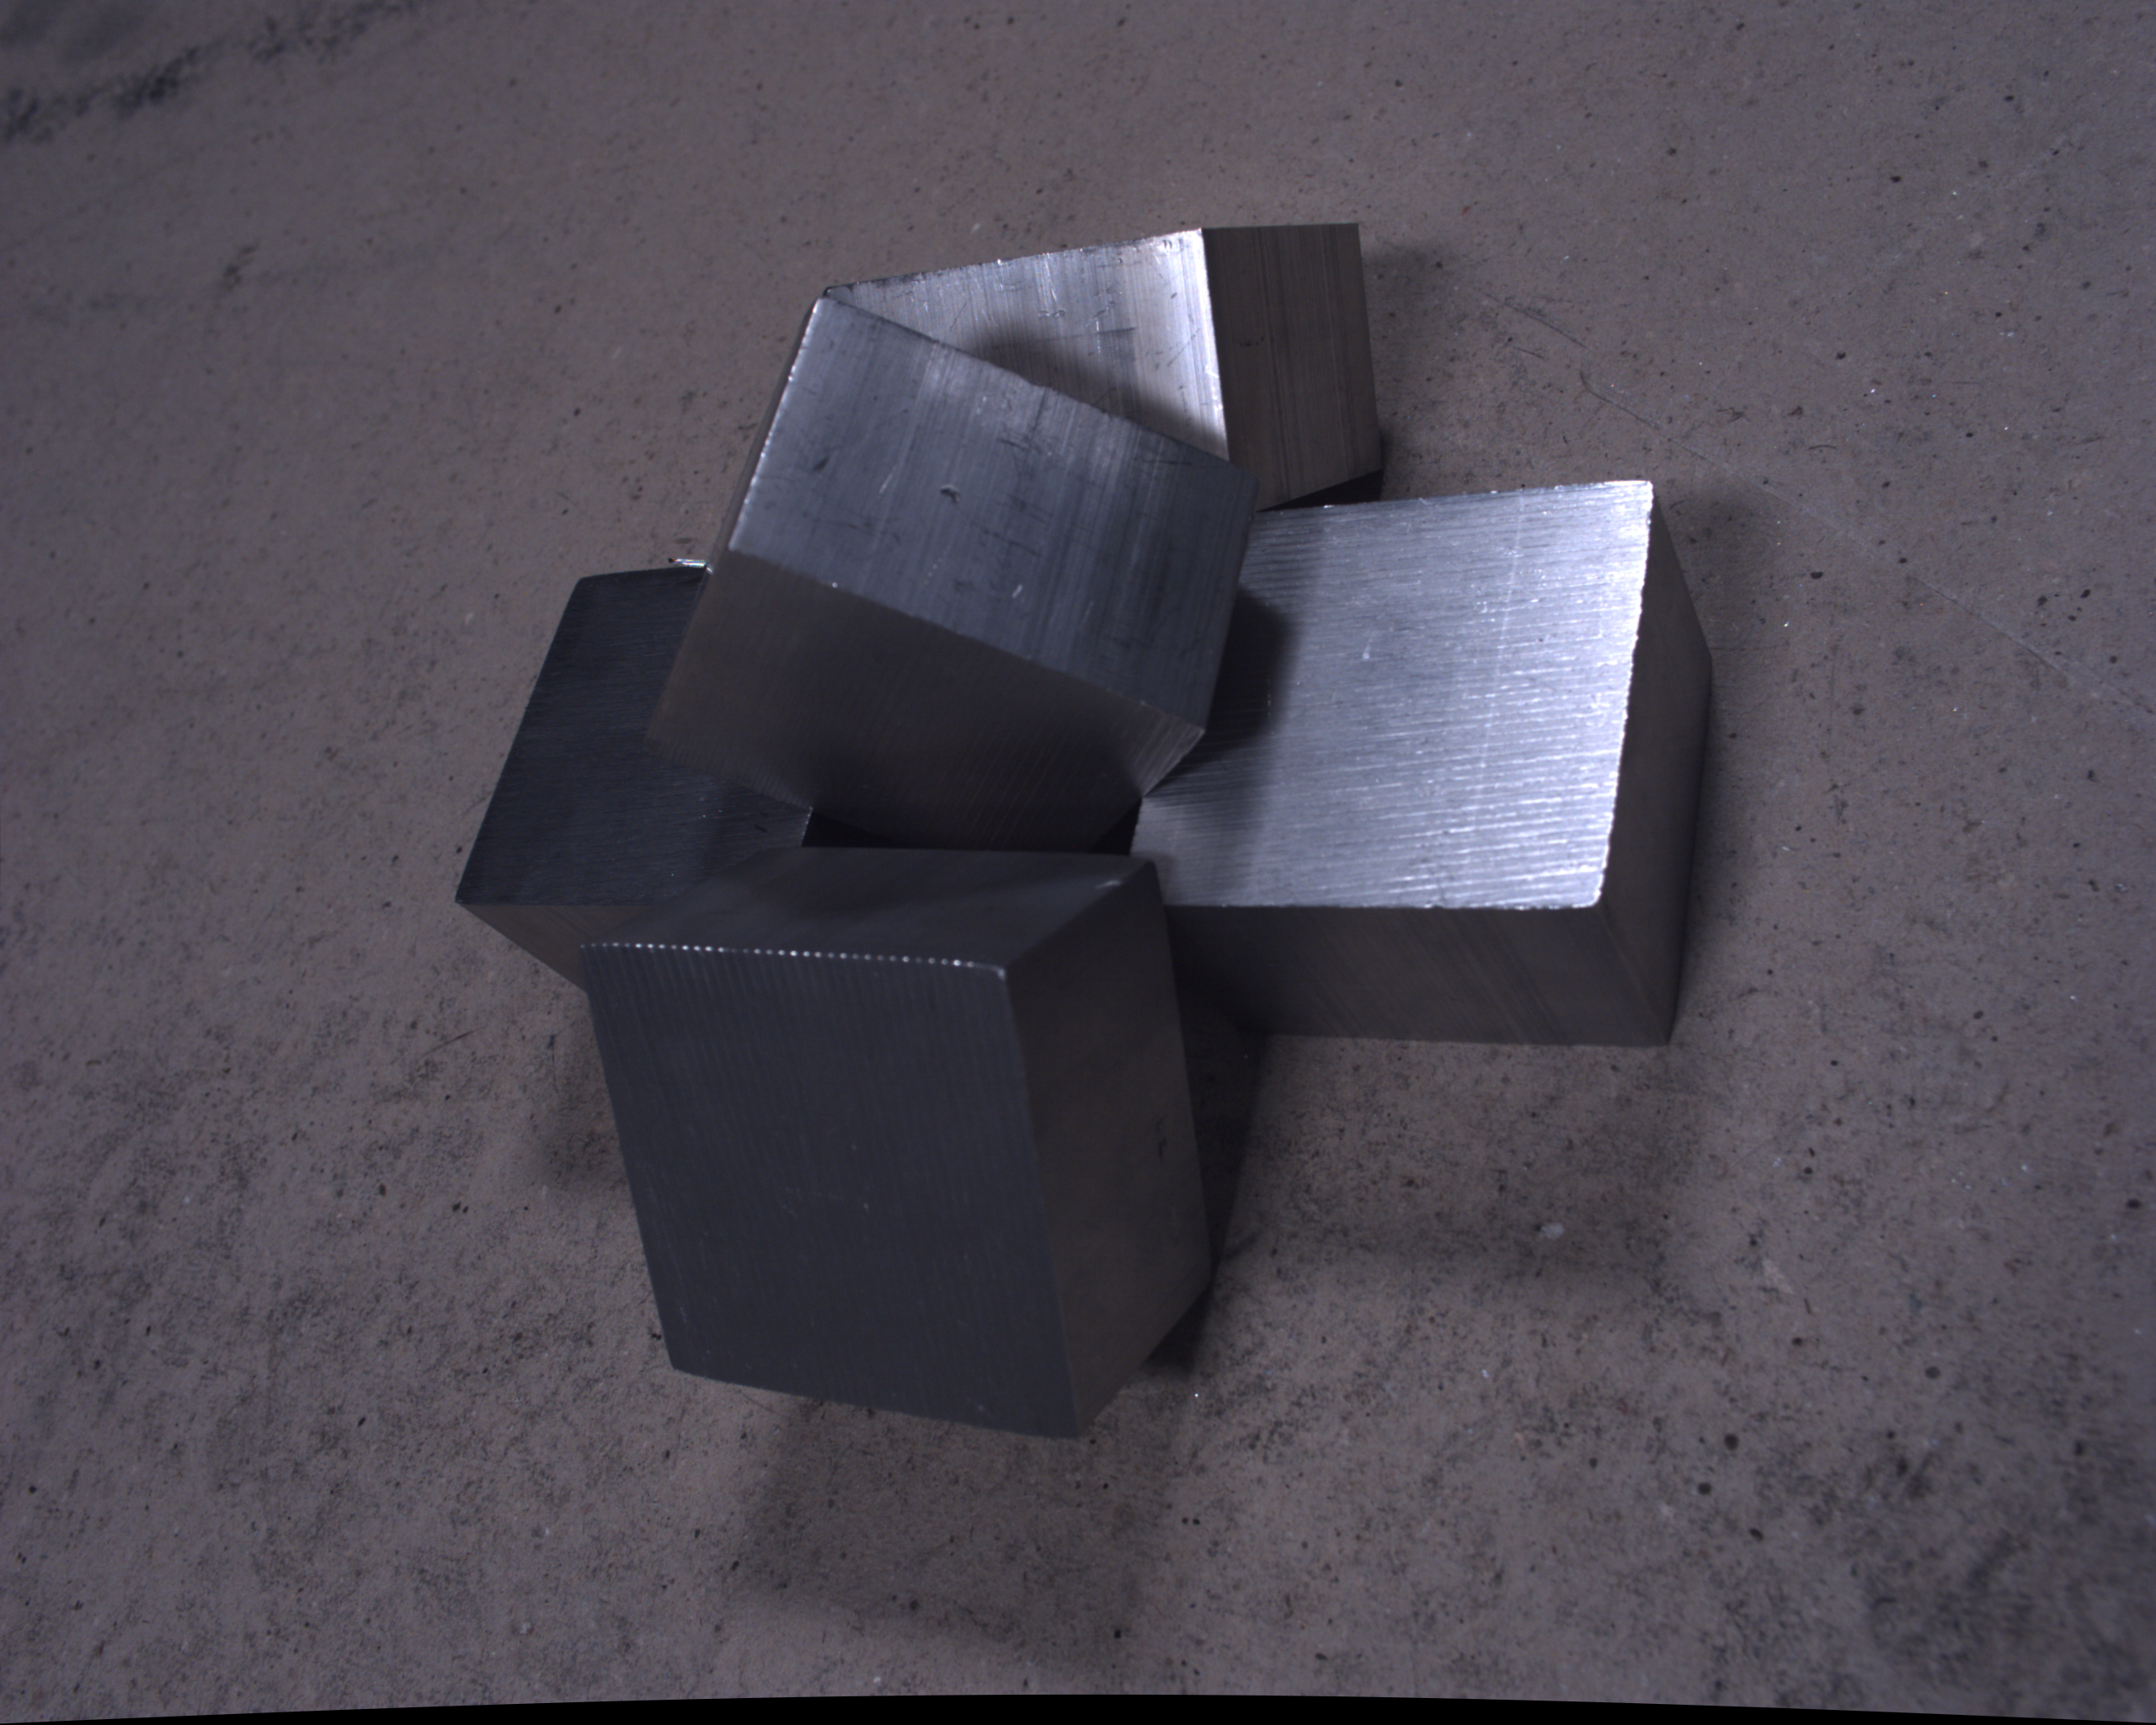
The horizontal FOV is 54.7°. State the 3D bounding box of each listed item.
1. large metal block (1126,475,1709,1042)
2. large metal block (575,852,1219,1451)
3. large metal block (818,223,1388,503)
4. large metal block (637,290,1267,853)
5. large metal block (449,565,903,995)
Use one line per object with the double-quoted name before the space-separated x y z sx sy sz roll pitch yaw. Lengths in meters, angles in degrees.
"large metal block" 0.060 -0.017 0.364 0.080 0.050 0.080 0 62 28
"large metal block" -0.028 0.044 0.349 0.080 0.079 0.050 1 19 29
"large metal block" 0.008 -0.096 0.416 0.080 0.080 0.050 0 105 28
"large metal block" -0.024 -0.043 0.365 0.080 0.080 0.050 136 151 -61
"large metal block" -0.071 -0.015 0.434 0.080 0.050 0.080 0 62 27
